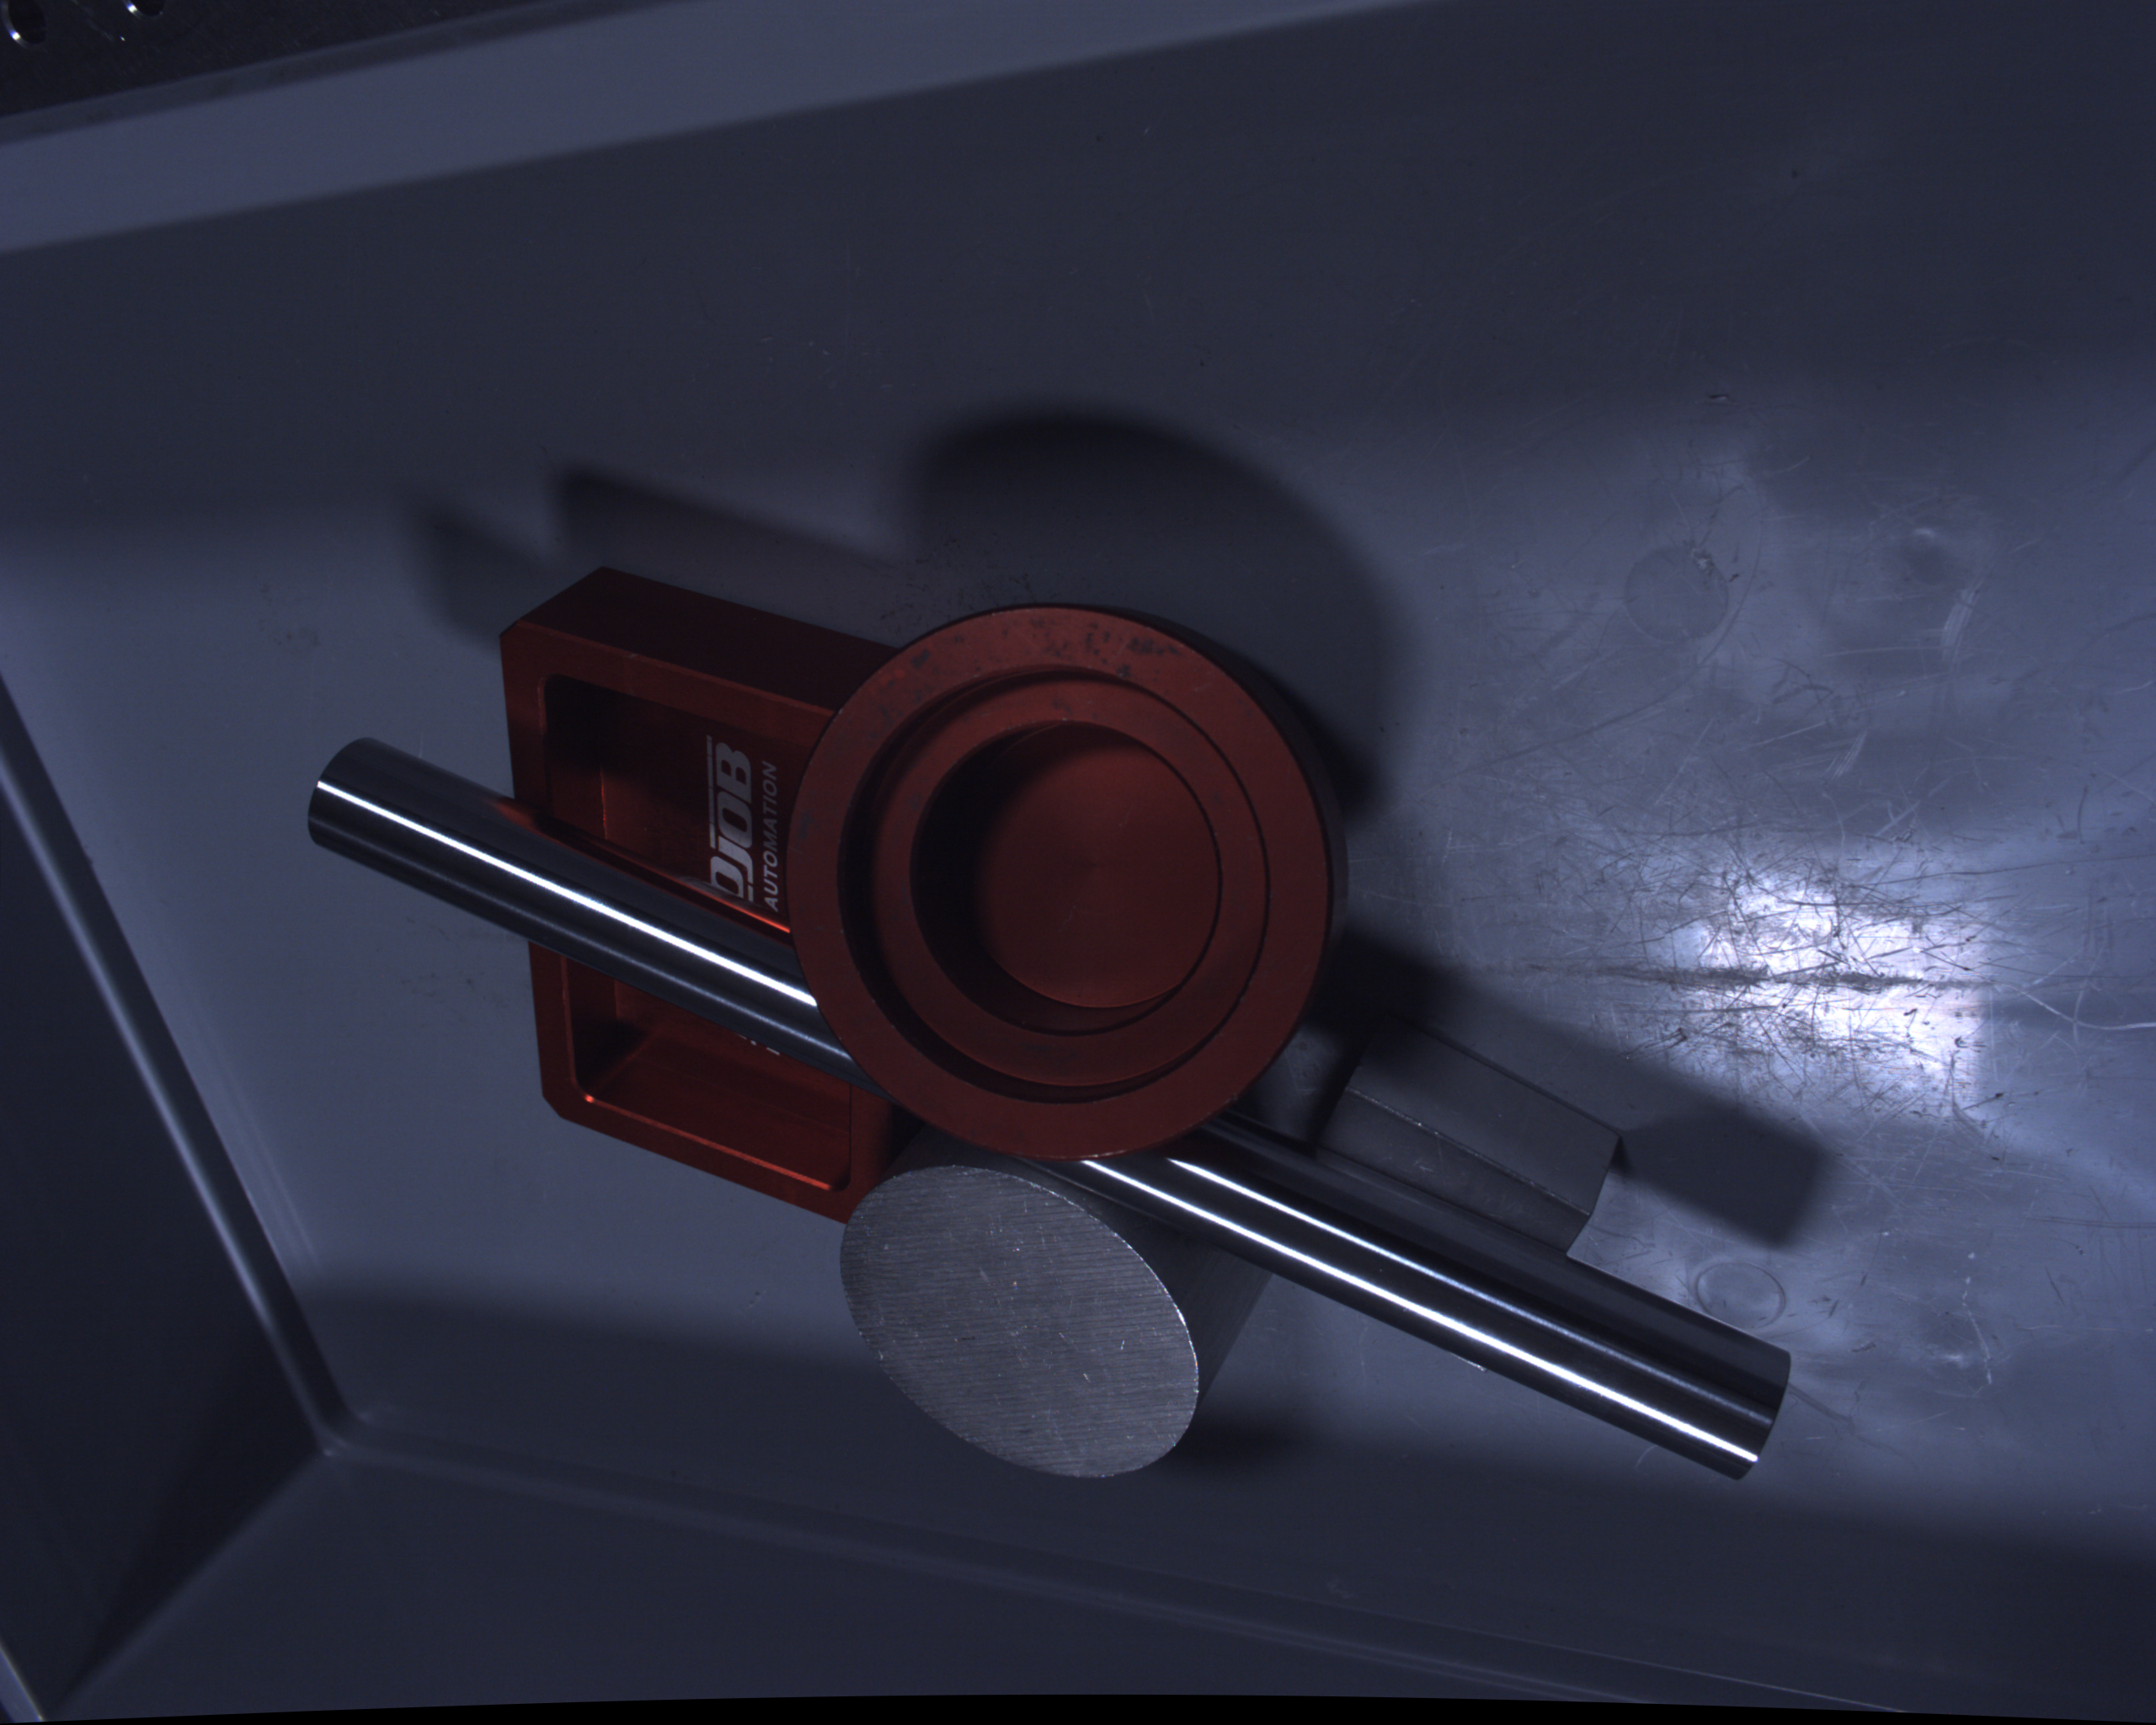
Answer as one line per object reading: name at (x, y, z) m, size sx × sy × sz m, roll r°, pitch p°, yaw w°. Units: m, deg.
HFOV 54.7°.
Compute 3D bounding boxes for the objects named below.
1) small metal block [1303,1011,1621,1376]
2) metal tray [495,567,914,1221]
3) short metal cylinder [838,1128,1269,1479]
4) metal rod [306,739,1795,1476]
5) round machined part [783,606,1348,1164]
small metal block at (0.070, 0.065, 0.409) m, size 0.050 × 0.025 × 0.050 m, roll 28°, pitch 128°, yaw 10°
metal tray at (-0.073, 0.010, 0.445) m, size 0.090 × 0.030 × 0.129 m, roll 17°, pitch 125°, yaw 18°
short metal cylinder at (-0.003, 0.082, 0.440) m, size 0.080 × 0.050 × 0.079 m, roll 13°, pitch 124°, yaw 20°
metal rod at (-0.014, 0.042, 0.401) m, size 0.301 × 0.025 × 0.025 m, roll 22°, pitch 127°, yaw 11°
round machined part at (0.000, 0.002, 0.380) m, size 0.098 × 0.042 × 0.097 m, roll 2°, pitch 97°, yaw 14°
